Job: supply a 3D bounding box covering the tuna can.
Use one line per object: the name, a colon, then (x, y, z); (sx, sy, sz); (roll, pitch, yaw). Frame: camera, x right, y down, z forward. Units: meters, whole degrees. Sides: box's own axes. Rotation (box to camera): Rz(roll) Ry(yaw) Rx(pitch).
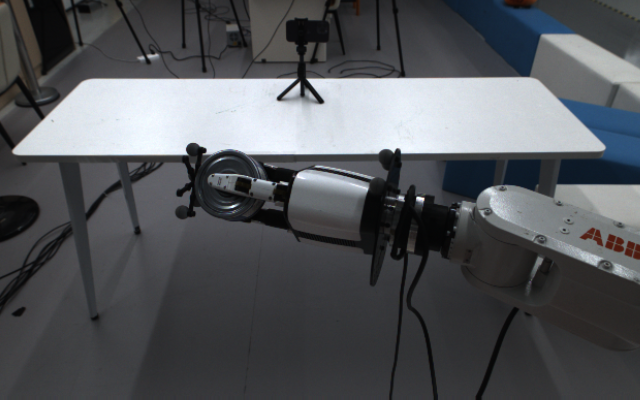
tuna can: (-0.106, -0.018, 0.593); (0.085, 0.085, 0.034); (10, -6, 11)
